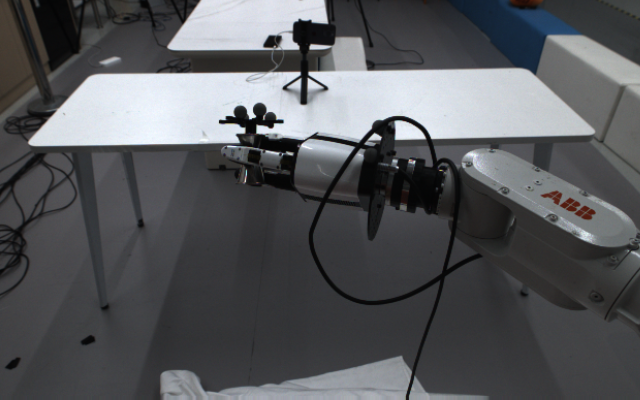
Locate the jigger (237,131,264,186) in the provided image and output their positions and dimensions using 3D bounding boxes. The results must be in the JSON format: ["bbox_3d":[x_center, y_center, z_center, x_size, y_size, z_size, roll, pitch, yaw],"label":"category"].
[{"bbox_3d":[-0.096,-0.056,0.662,0.043,0.071,0.043,-1,2,0],"label":"jigger"}]
